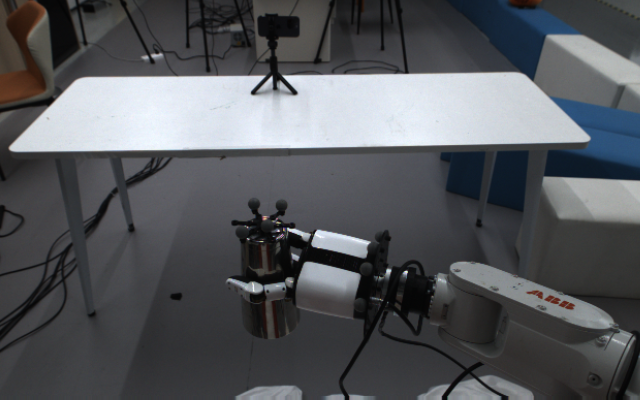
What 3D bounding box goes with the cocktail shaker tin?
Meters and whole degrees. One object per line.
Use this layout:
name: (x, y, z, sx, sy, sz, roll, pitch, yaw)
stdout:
cocktail shaker tin: (-0.075, 0.112, 0.718, 0.093, 0.170, 0.093, 0, 33, 0)
